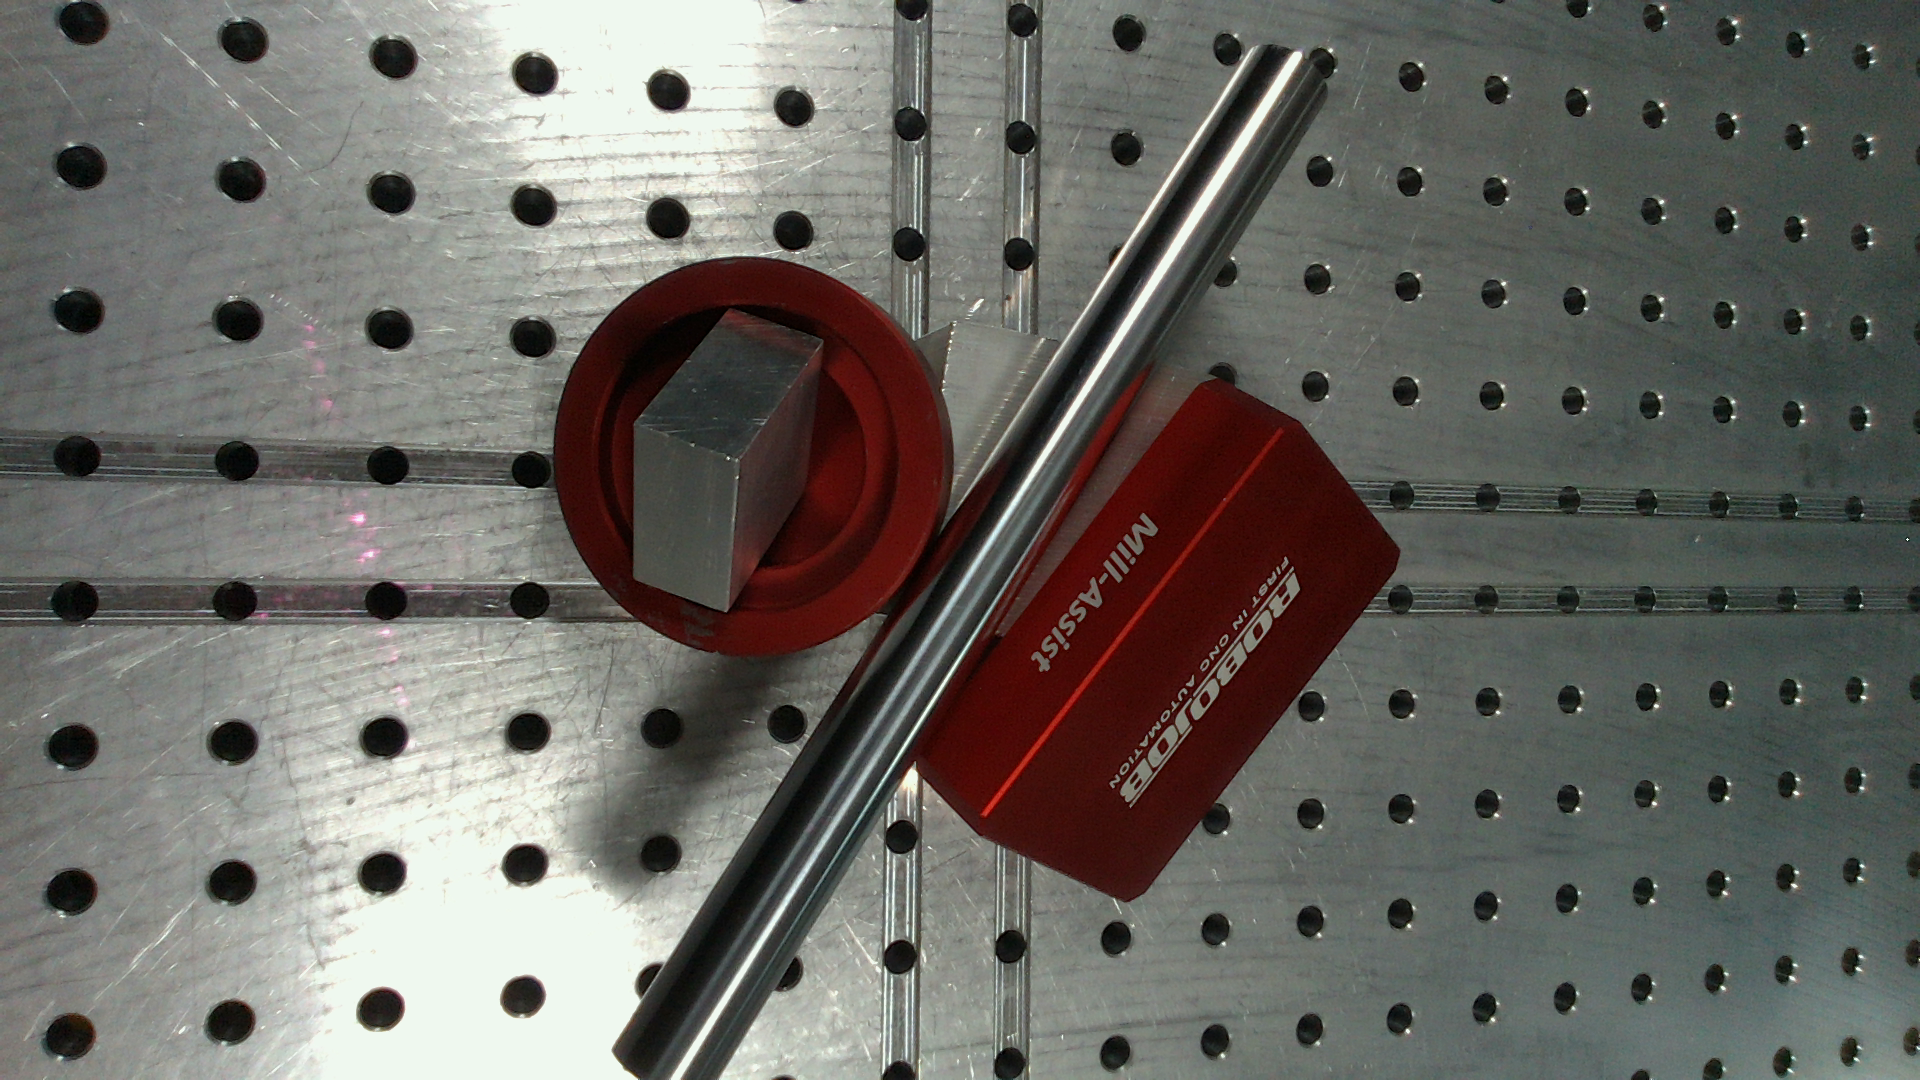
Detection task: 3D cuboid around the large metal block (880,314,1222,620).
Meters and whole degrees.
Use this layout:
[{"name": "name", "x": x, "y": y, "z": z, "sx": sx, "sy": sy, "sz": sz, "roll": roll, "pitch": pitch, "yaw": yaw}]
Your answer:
[{"name": "large metal block", "x": 0.021, "y": -0.013, "z": 0.390, "sx": 0.080, "sy": 0.050, "sz": 0.080, "roll": 9, "pitch": 87, "yaw": -20}]

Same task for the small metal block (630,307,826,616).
[{"name": "small metal block", "x": -0.056, "y": -0.019, "z": 0.333, "sx": 0.025, "sy": 0.050, "sz": 0.050, "roll": 20, "pitch": 44, "yaw": 7}]

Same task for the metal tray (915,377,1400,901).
[{"name": "metal tray", "x": 0.058, "y": 0.032, "z": 0.379, "sx": 0.130, "sy": 0.030, "sz": 0.090, "roll": -52, "pitch": 138, "yaw": 1}]

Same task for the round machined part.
[{"name": "round machined part", "x": -0.050, "y": -0.021, "z": 0.355, "sx": 0.098, "sy": 0.042, "sz": 0.098, "roll": 0, "pitch": 93, "yaw": 5}]

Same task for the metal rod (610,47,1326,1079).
[{"name": "metal rod", "x": 0.009, "y": -0.001, "z": 0.346, "sx": 0.025, "sy": 0.025, "sz": 0.300, "roll": 36, "pitch": 79, "yaw": -16}]
